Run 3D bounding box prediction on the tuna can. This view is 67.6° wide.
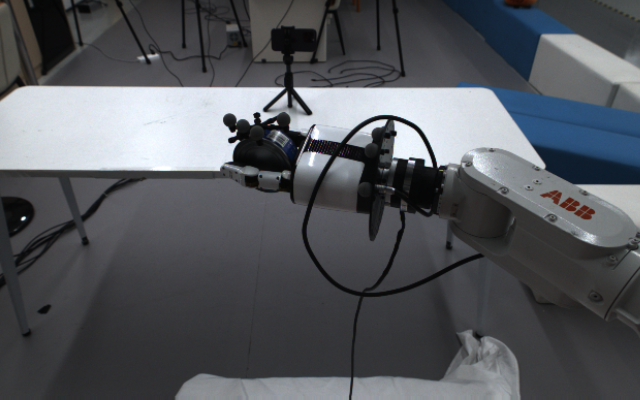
[{"bbox_3d":[-0.069,-0.055,0.648,0.085,0.085,0.034,14,40,16],"label":"tuna can"}]
